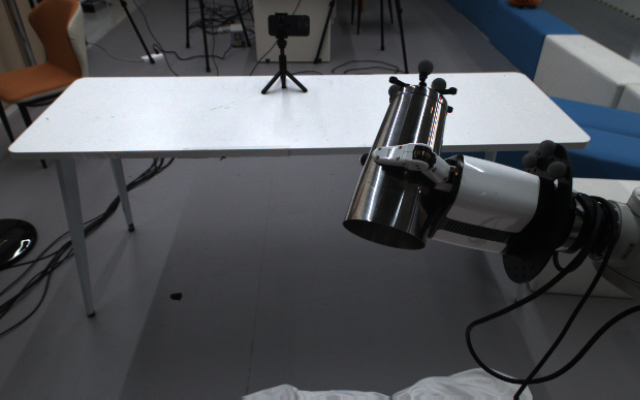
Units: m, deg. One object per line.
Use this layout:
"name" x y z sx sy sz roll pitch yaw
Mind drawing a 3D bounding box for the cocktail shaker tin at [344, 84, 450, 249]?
"cocktail shaker tin" 0.094 -0.038 0.548 0.093 0.093 0.170 13 74 16
